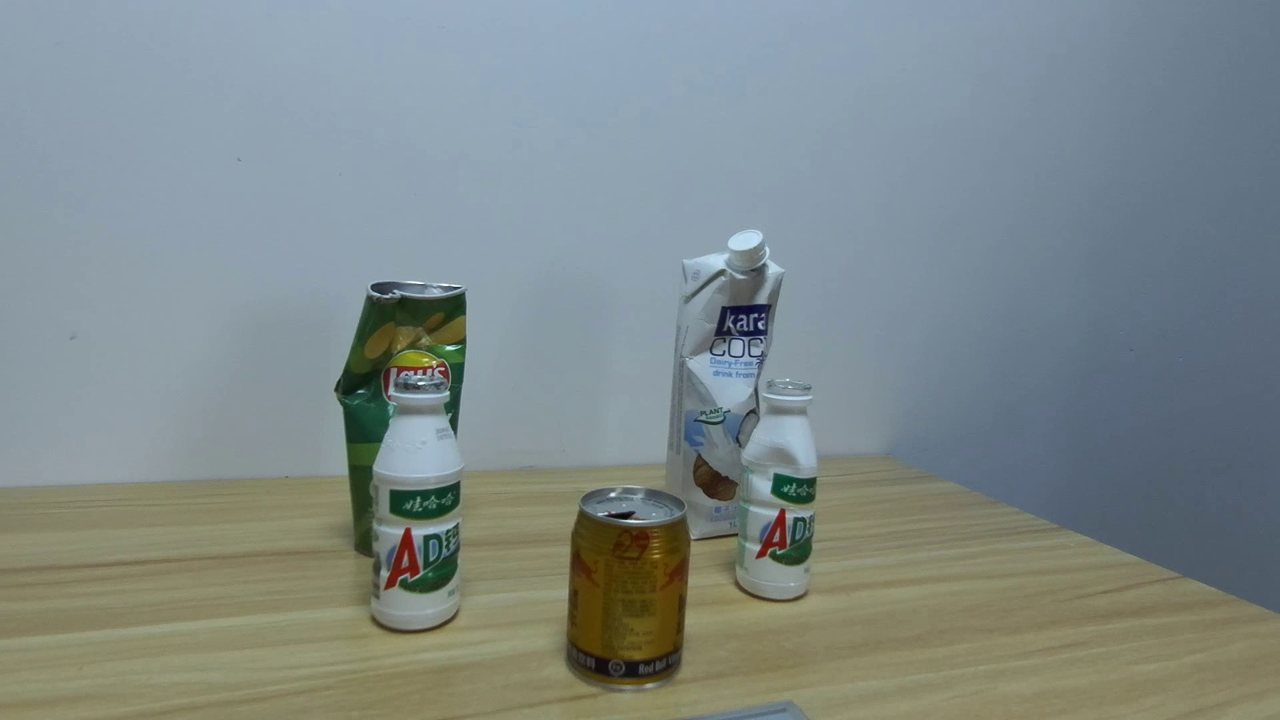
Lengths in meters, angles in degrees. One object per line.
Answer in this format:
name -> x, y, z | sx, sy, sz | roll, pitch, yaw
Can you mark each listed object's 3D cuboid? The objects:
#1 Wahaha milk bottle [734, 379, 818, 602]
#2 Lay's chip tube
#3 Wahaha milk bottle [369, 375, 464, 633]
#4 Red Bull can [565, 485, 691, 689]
Wahaha milk bottle -> 0.097, 0.089, 0.489 | 0.055, 0.149, 0.055 | 4, 9, 0
Lay's chip tube -> -0.178, 0.043, 0.532 | 0.069, 0.201, 0.077 | 3, 8, 7
Wahaha milk bottle -> -0.134, 0.085, 0.427 | 0.053, 0.147, 0.053 | 2, 7, 0
Red Bull can -> -0.006, 0.124, 0.393 | 0.067, 0.093, 0.067 | 4, 8, 0
